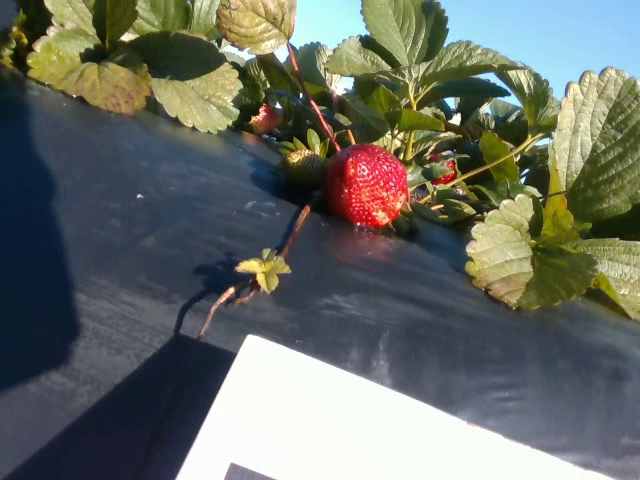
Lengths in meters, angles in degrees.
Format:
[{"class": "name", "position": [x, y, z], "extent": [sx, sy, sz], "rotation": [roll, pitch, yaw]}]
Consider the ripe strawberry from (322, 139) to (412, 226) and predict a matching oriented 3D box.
[{"class": "ripe strawberry", "position": [0.017, -0.023, 0.253], "extent": [0.041, 0.043, 0.053], "rotation": [31, -1, 10]}]
